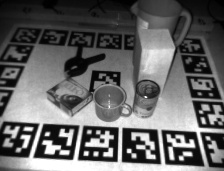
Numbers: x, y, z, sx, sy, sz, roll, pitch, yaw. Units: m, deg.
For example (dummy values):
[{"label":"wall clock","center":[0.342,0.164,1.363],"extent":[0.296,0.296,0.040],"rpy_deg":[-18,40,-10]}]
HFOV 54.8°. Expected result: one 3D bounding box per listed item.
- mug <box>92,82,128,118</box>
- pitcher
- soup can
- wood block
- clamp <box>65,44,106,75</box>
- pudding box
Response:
[{"label":"mug","center":[-0.003,0.047,0.629],"extent":[0.116,0.082,0.094],"rpy_deg":[31,53,24]},{"label":"pitcher","center":[0.146,-0.172,0.719],"extent":[0.188,0.244,0.132],"rpy_deg":[0,47,2]},{"label":"soup can","center":[0.091,0.029,0.633],"extent":[0.068,0.102,0.067],"rpy_deg":[1,52,0]},{"label":"wood block","center":[0.114,-0.072,0.652],"extent":[0.090,0.207,0.090],"rpy_deg":[2,49,-4]},{"label":"clamp","center":[-0.112,-0.098,0.785],"extent":[0.121,0.036,0.166],"rpy_deg":[31,55,12]},{"label":"pudding box","center":[-0.142,0.019,0.677],"extent":[0.112,0.039,0.090],"rpy_deg":[33,59,24]}]
